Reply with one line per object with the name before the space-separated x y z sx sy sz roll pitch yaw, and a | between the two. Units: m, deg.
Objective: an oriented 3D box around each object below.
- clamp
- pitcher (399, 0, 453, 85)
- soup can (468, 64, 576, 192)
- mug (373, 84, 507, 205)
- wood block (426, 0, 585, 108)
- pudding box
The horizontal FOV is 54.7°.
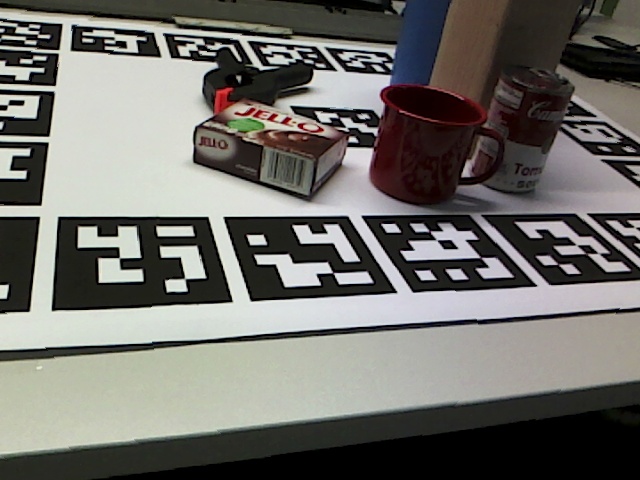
clamp | -0.076 -0.171 0.684 0.122 0.036 0.165 20 34 1
pitcher | 0.174 -0.284 0.724 0.188 0.242 0.134 -5 34 -18
soup can | 0.187 -0.105 0.585 0.068 0.102 0.068 7 36 -6
mug | 0.104 -0.081 0.546 0.117 0.081 0.093 17 32 11
wood block | 0.185 -0.200 0.631 0.089 0.206 0.091 -2 35 -24
pudding box | -0.047 -0.082 0.550 0.114 0.038 0.090 18 37 13
